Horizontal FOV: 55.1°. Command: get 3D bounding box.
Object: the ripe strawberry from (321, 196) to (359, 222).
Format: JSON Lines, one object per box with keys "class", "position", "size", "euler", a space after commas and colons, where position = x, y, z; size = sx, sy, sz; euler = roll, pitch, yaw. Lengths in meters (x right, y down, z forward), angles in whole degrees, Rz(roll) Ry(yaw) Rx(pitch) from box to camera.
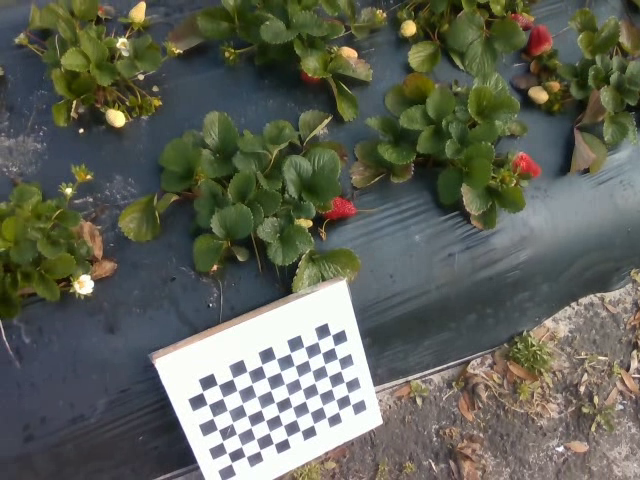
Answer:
{"class": "ripe strawberry", "position": [0.030, -0.047, 0.865], "size": [0.064, 0.051, 0.043], "euler": [11, 10, -25]}
